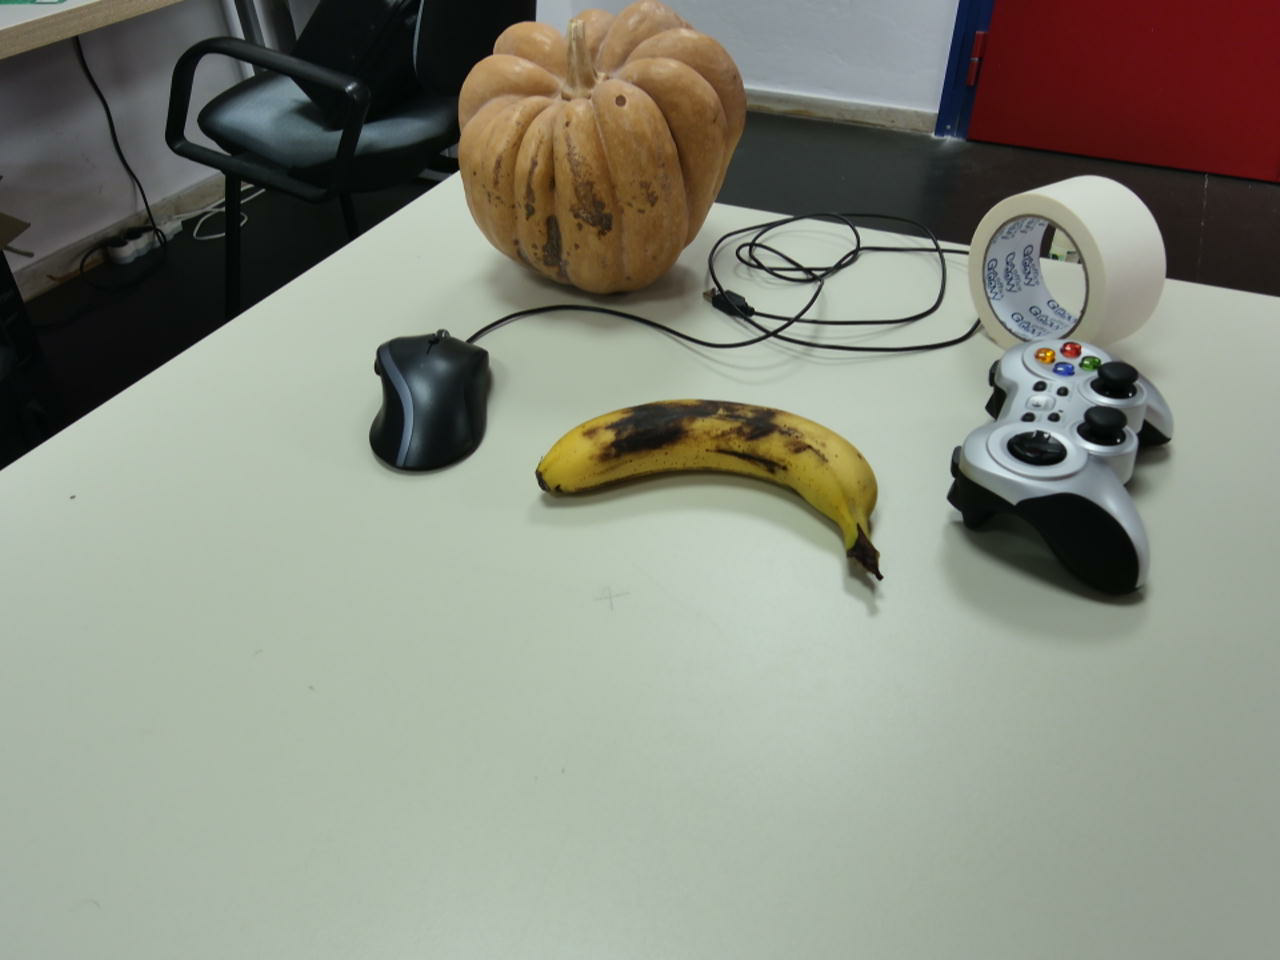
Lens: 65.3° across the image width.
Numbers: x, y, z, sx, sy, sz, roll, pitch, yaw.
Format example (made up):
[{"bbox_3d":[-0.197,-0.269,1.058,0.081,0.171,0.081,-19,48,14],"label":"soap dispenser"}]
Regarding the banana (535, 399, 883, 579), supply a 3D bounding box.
[{"bbox_3d":[0.045,-0.008,0.530,0.187,0.039,0.094,15,41,19],"label":"banana"}]
